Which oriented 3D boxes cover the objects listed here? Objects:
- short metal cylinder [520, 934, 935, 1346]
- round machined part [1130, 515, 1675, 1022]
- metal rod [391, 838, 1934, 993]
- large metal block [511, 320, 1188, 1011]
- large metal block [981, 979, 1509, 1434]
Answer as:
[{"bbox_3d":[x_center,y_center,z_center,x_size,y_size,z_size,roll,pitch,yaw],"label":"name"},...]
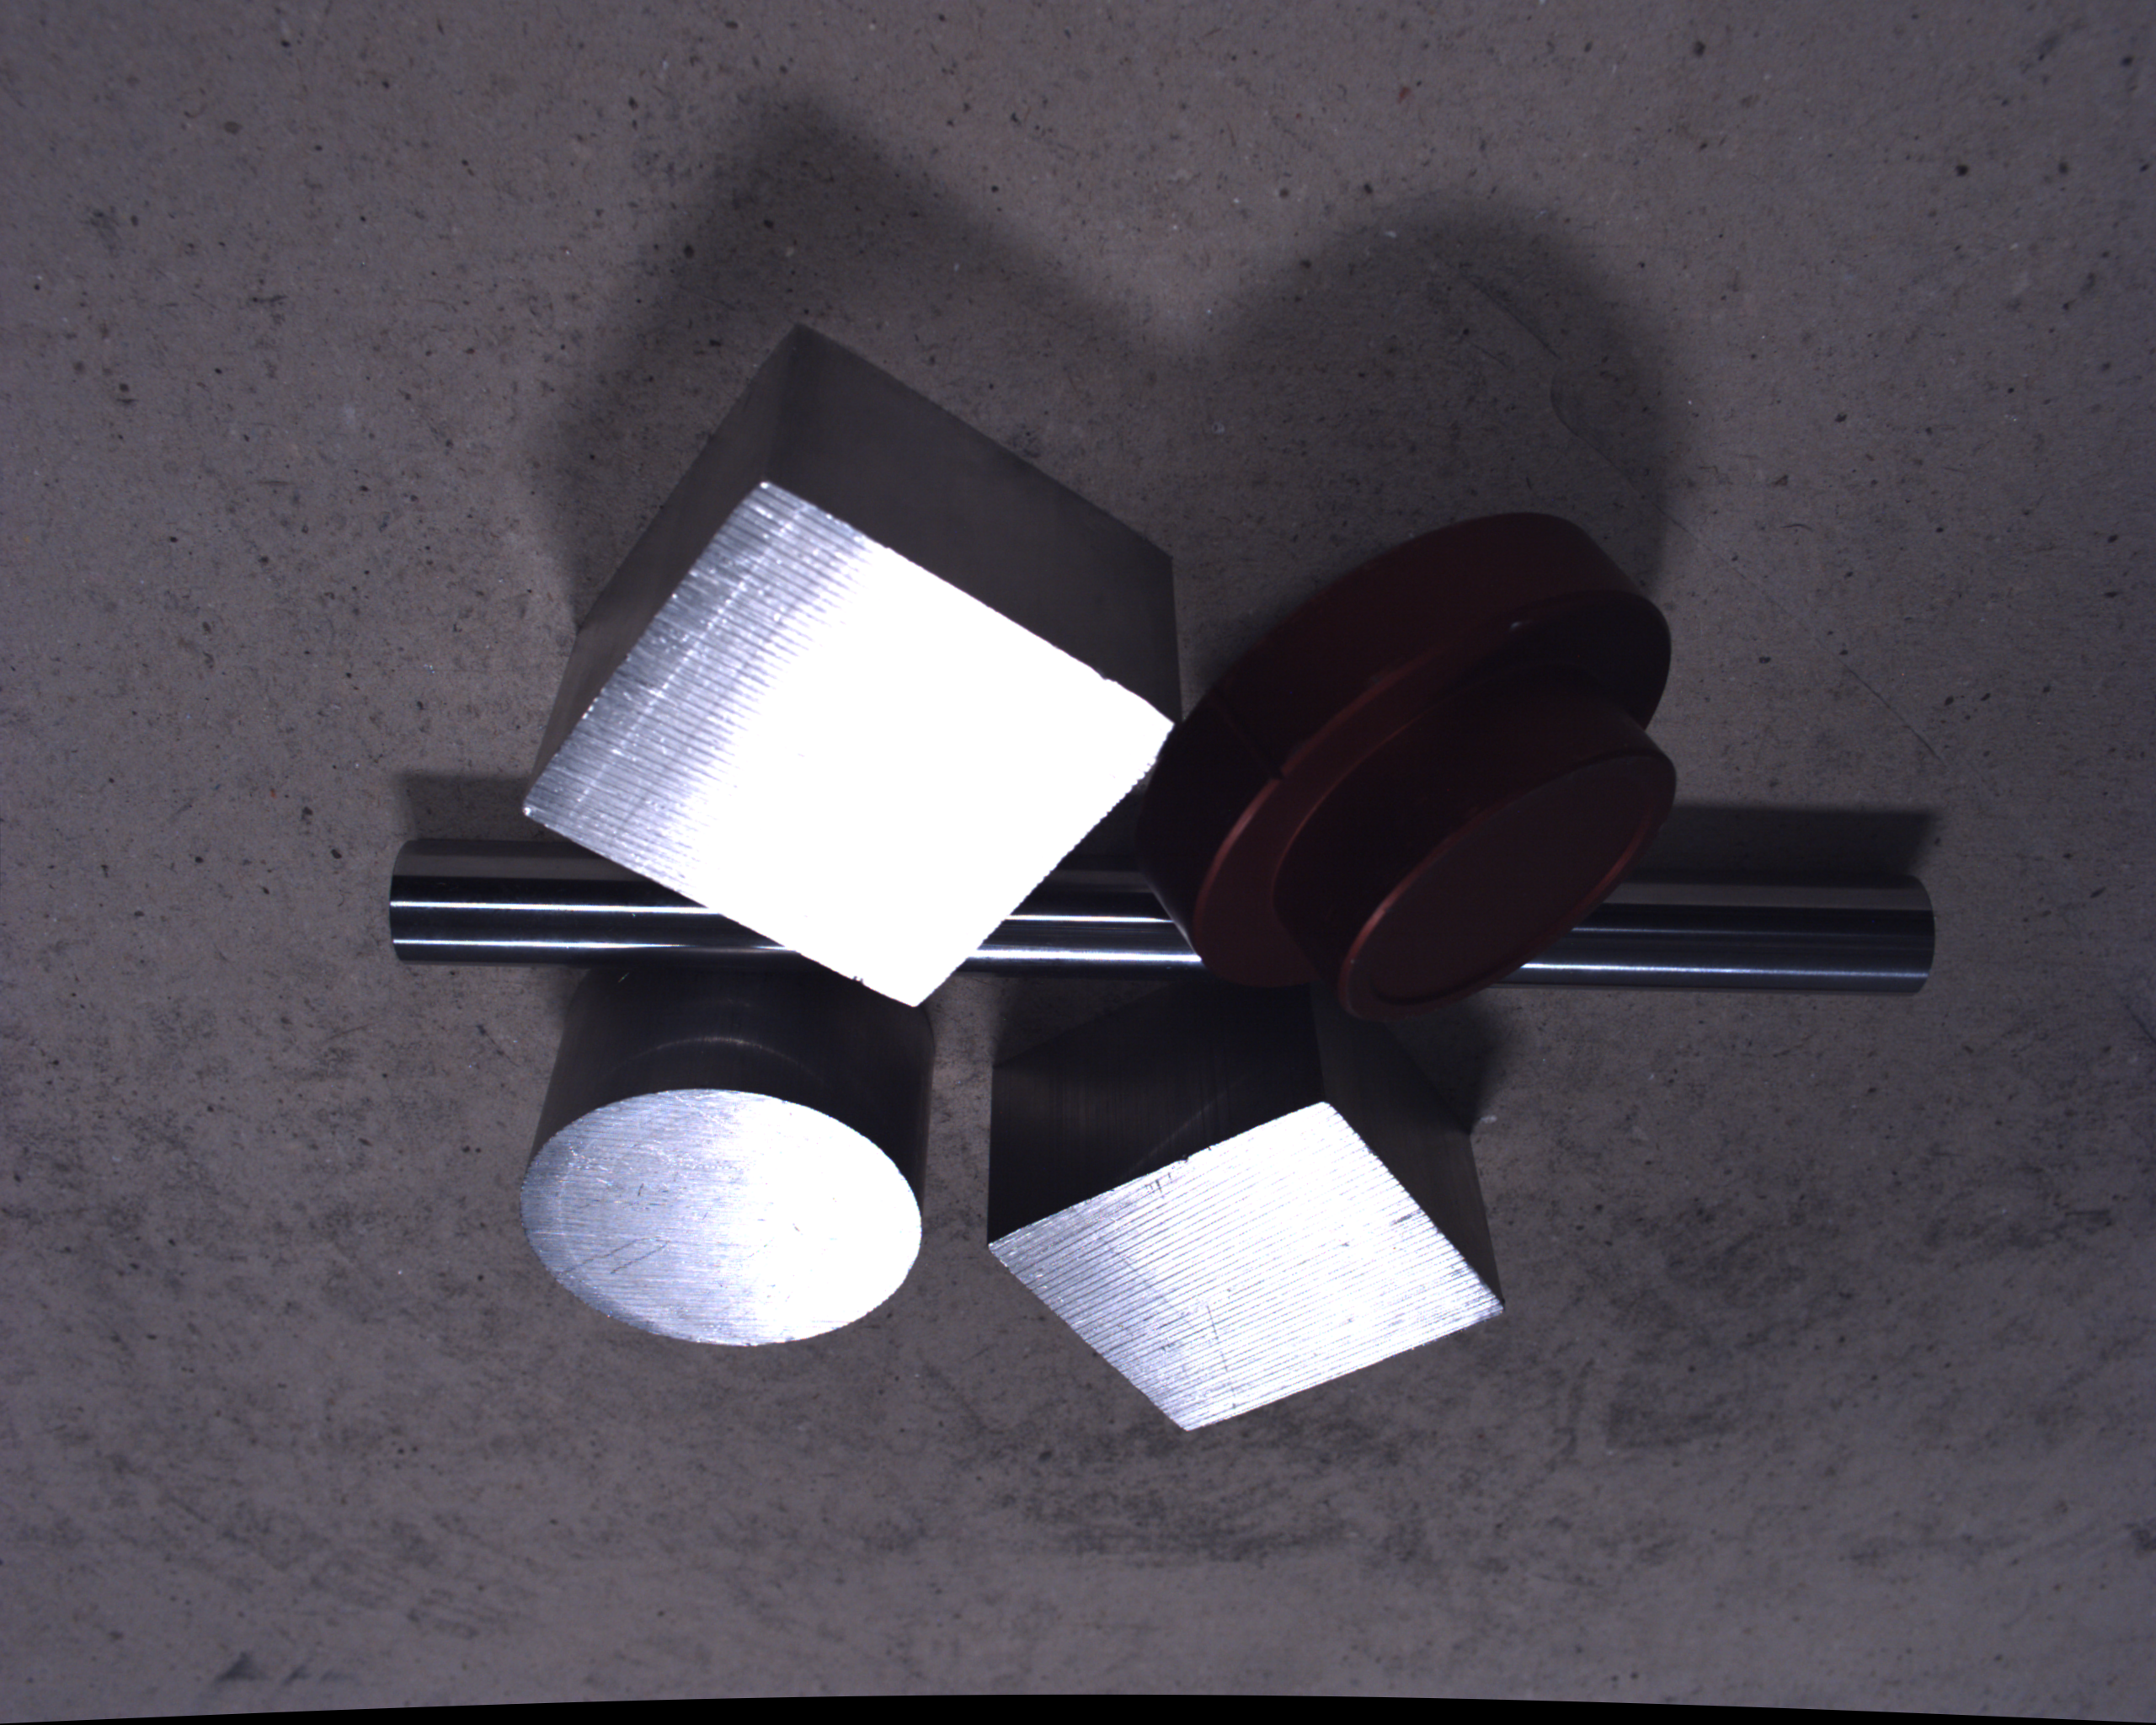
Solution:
[{"bbox_3d":[-0.072,0.057,0.440,0.081,0.050,0.079,0,130,0],"label":"short metal cylinder"},{"bbox_3d":[0.062,-0.009,0.360,0.099,0.042,0.098,-23,150,-14],"label":"round machined part"},{"bbox_3d":[0.018,0.011,0.420,0.302,0.025,0.025,1,130,-2],"label":"metal rod"},{"bbox_3d":[-0.038,-0.031,0.362,0.080,0.050,0.080,30,124,-23],"label":"large metal block"},{"bbox_3d":[0.036,0.071,0.453,0.080,0.050,0.080,-26,126,20],"label":"large metal block"}]
